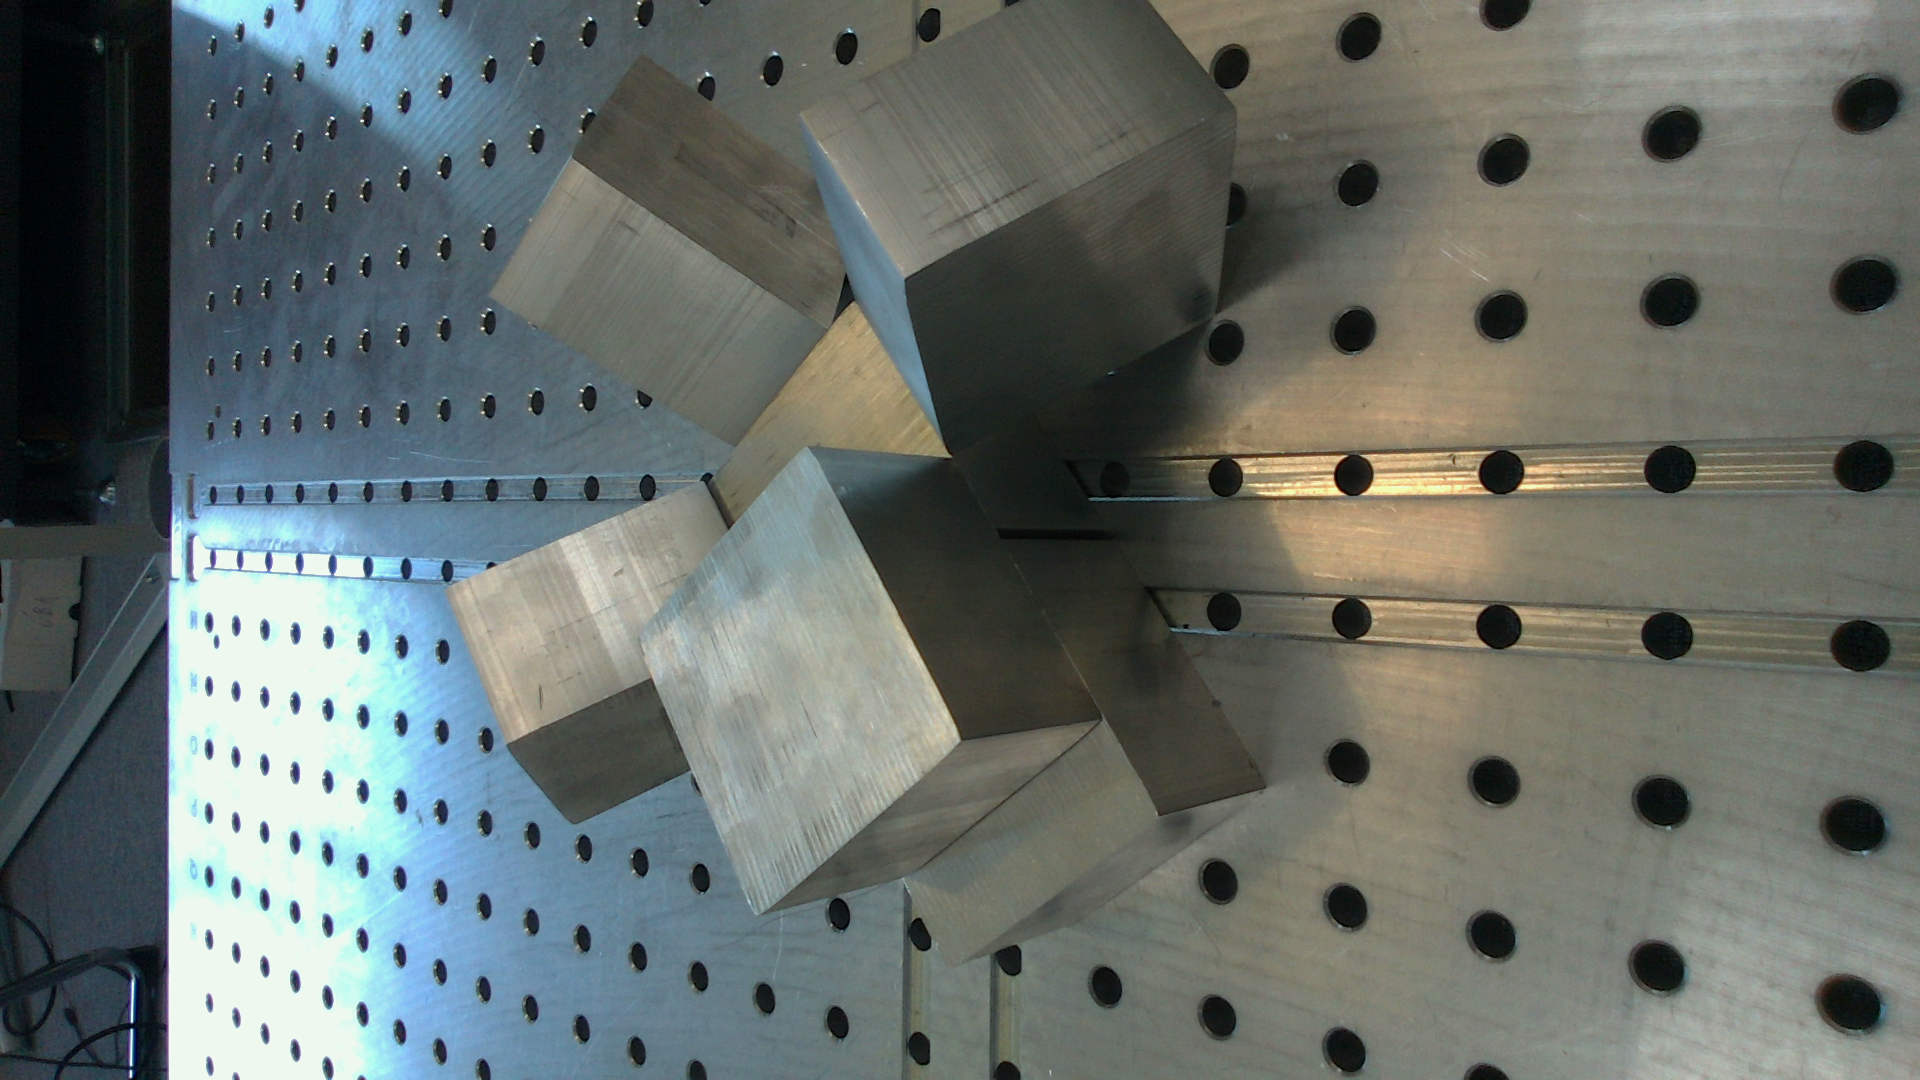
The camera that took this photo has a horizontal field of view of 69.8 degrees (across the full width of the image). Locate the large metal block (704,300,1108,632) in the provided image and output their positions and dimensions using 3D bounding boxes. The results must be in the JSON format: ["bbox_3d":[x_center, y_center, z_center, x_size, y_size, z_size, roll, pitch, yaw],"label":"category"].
[{"bbox_3d":[-0.018,-0.011,0.397,0.080,0.050,0.080,-46,63,30],"label":"large metal block"}]

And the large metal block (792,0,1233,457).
[{"bbox_3d":[0.015,-0.076,0.329,0.080,0.080,0.050,-28,66,-6],"label":"large metal block"}]

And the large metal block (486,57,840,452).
[{"bbox_3d":[-0.081,-0.086,0.410,0.050,0.080,0.080,-45,24,31],"label":"large metal block"}]

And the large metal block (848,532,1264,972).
[{"bbox_3d":[0.018,0.055,0.365,0.080,0.050,0.080,-44,62,30],"label":"large metal block"}]

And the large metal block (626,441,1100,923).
[{"bbox_3d":[-0.026,0.034,0.337,0.080,0.050,0.080,-44,64,30],"label":"large metal block"}]

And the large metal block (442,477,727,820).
[{"bbox_3d":[-0.102,0.036,0.428,0.050,0.080,0.080,59,165,24],"label":"large metal block"}]
